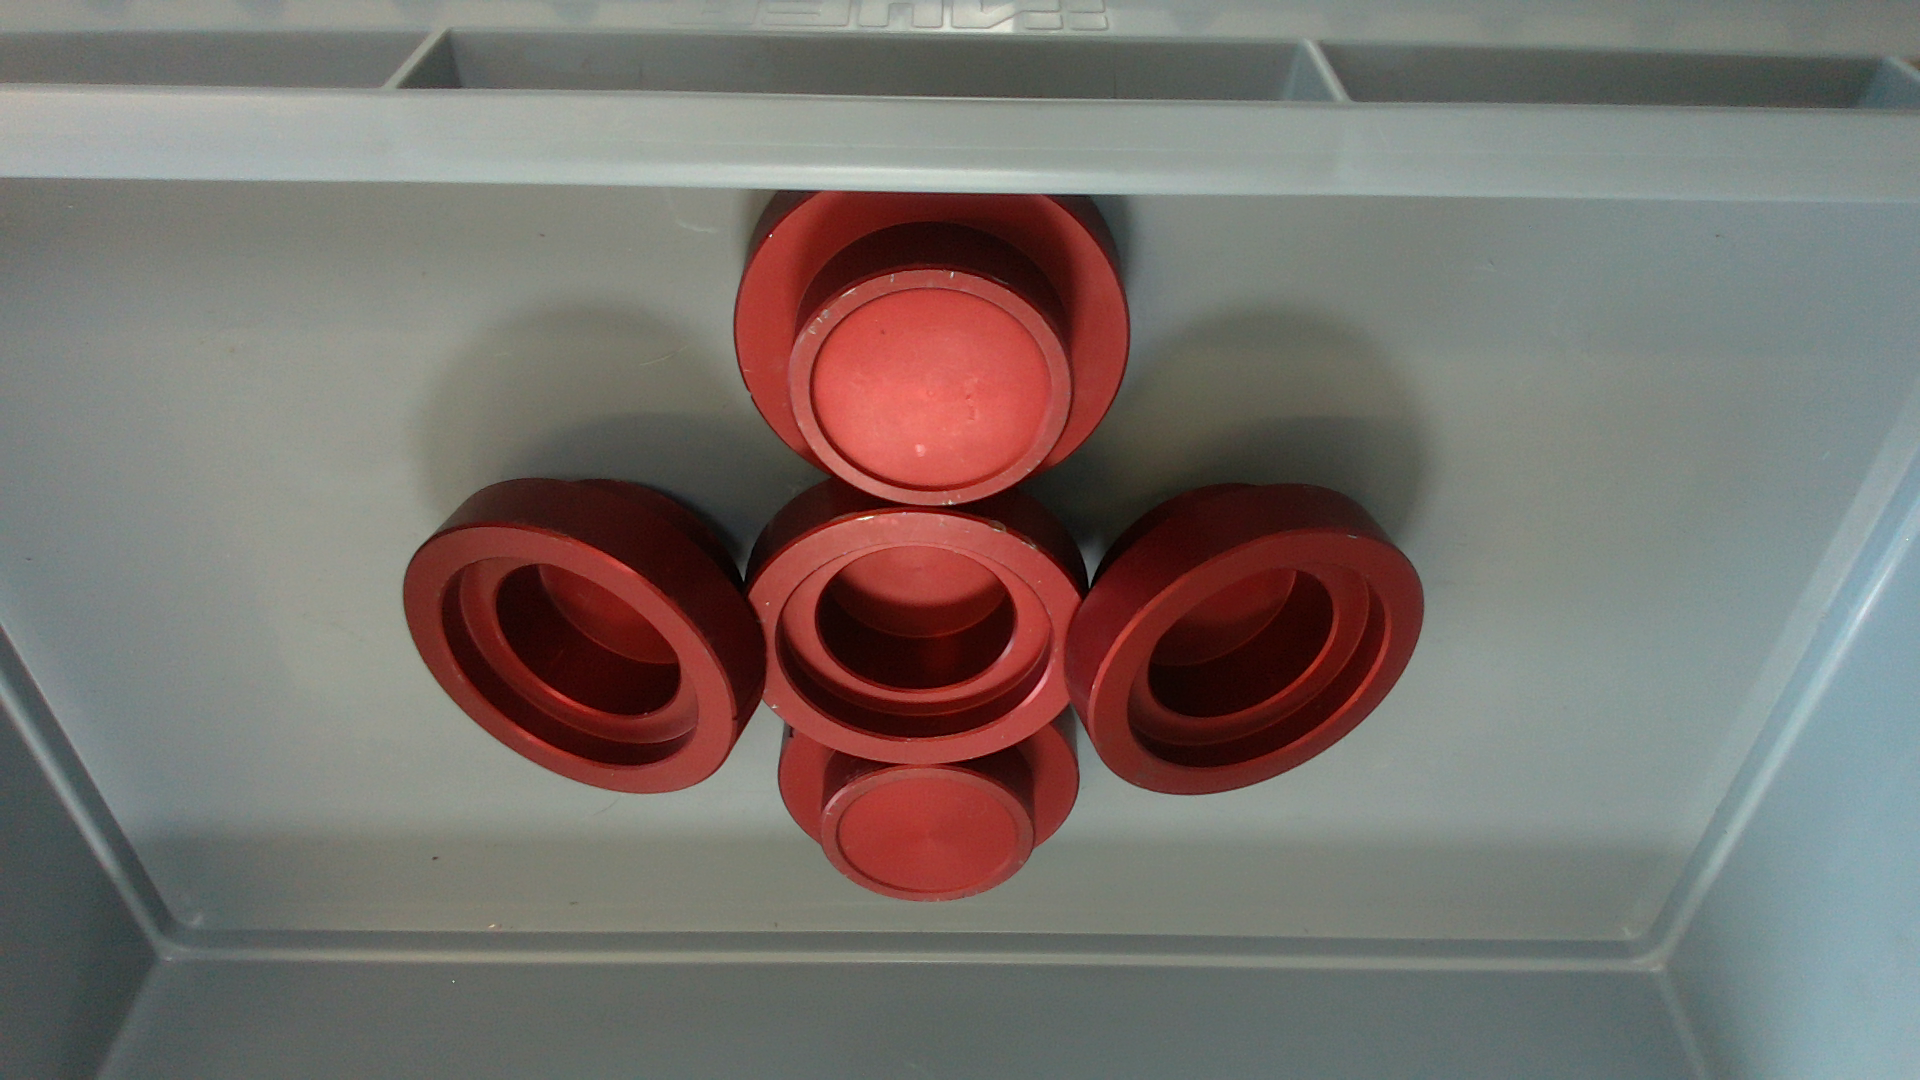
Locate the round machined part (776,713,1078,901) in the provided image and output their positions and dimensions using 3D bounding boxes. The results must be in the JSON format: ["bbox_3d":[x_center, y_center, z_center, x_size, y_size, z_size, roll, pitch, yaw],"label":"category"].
[{"bbox_3d":[-0.011,0.079,0.445,0.098,0.042,0.098,0,130,0],"label":"round machined part"}]

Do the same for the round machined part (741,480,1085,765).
[{"bbox_3d":[-0.012,0.016,0.391,0.098,0.042,0.098,0,130,0],"label":"round machined part"}]

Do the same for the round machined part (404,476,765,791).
[{"bbox_3d":[-0.100,0.021,0.385,0.098,0.042,0.098,11,131,13],"label":"round machined part"}]

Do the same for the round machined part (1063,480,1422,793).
[{"bbox_3d":[0.075,0.023,0.386,0.098,0.042,0.098,-11,132,-12],"label":"round machined part"}]

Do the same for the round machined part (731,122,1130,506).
[{"bbox_3d":[-0.007,-0.047,0.337,0.098,0.042,0.098,0,130,0],"label":"round machined part"}]
